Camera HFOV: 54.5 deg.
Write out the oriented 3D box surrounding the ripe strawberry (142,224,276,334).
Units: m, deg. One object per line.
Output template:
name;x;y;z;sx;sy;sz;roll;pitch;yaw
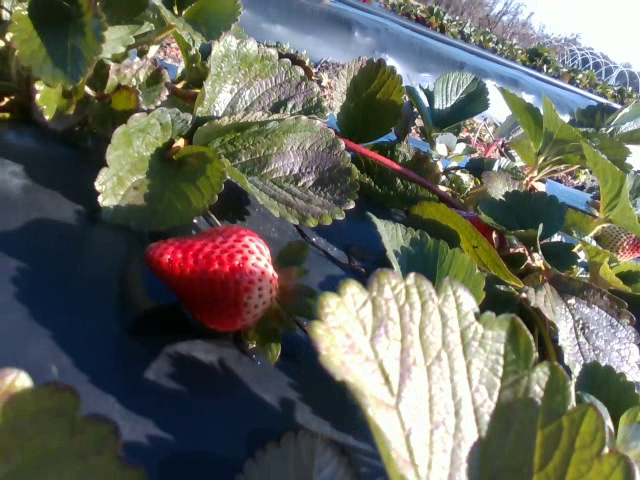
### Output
ripe strawberry;-0.036;0.012;0.200;0.056;0.041;0.045;20;-27;-35
